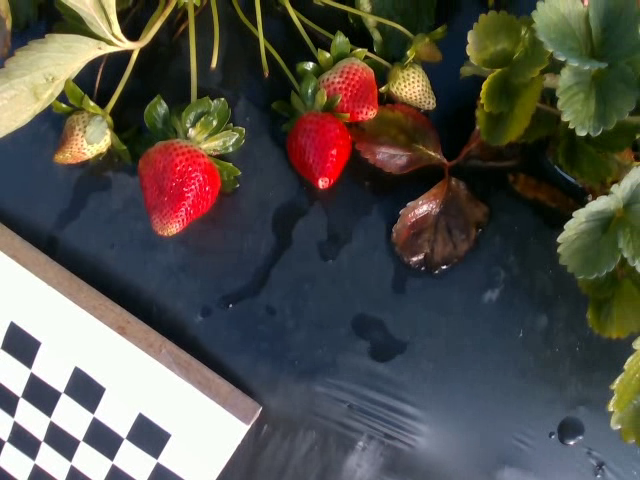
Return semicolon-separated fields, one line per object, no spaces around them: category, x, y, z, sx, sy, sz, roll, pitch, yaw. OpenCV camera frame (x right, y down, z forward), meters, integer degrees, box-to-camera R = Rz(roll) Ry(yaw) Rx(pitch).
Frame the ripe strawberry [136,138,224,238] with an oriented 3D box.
ripe strawberry;-0.085;-0.030;0.345;0.050;0.065;0.050;-4;-38;23

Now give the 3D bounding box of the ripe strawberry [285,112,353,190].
ripe strawberry;-0.002;-0.049;0.353;0.044;0.055;0.041;-29;-44;27
